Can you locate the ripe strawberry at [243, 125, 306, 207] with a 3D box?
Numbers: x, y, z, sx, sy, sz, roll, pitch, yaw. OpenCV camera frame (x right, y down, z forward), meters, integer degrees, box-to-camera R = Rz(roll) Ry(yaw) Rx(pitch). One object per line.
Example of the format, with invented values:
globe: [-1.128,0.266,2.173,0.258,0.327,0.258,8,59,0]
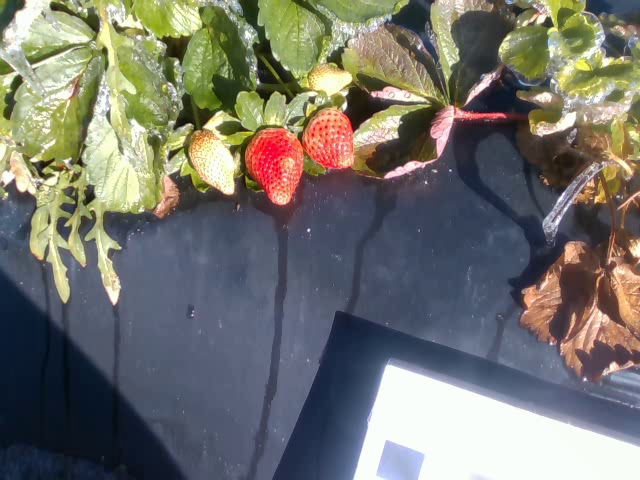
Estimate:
ripe strawberry: [-0.024,-0.037,0.325,0.036,0.051,0.039,-23,-38,12]

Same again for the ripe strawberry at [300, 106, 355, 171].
ripe strawberry: [0.009,-0.059,0.335,0.041,0.036,0.030,44,11,11]
